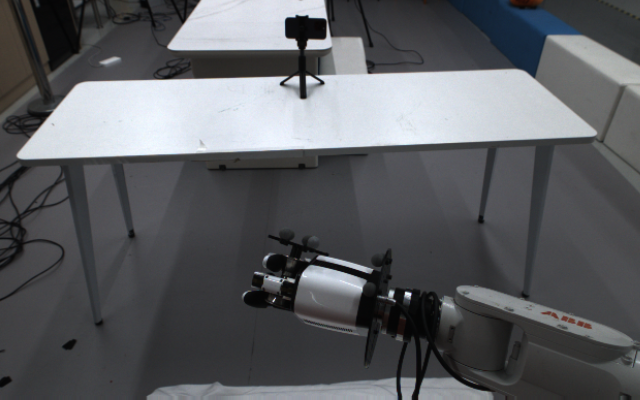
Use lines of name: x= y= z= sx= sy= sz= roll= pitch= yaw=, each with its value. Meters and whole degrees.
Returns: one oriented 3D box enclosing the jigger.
jigger: x=-0.045 y=0.111 z=0.669 sx=0.043 sy=0.071 sz=0.043 roll=19 pitch=-6 yaw=2
